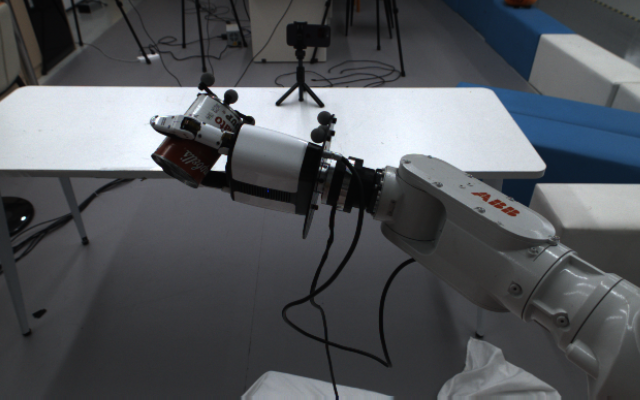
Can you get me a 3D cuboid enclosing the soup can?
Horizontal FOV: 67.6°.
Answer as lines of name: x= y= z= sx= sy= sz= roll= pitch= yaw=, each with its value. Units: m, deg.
soup can: x=-0.153 y=-0.074 z=0.607 sx=0.067 sy=0.067 sz=0.101 roll=24 pitch=72 yaw=29
